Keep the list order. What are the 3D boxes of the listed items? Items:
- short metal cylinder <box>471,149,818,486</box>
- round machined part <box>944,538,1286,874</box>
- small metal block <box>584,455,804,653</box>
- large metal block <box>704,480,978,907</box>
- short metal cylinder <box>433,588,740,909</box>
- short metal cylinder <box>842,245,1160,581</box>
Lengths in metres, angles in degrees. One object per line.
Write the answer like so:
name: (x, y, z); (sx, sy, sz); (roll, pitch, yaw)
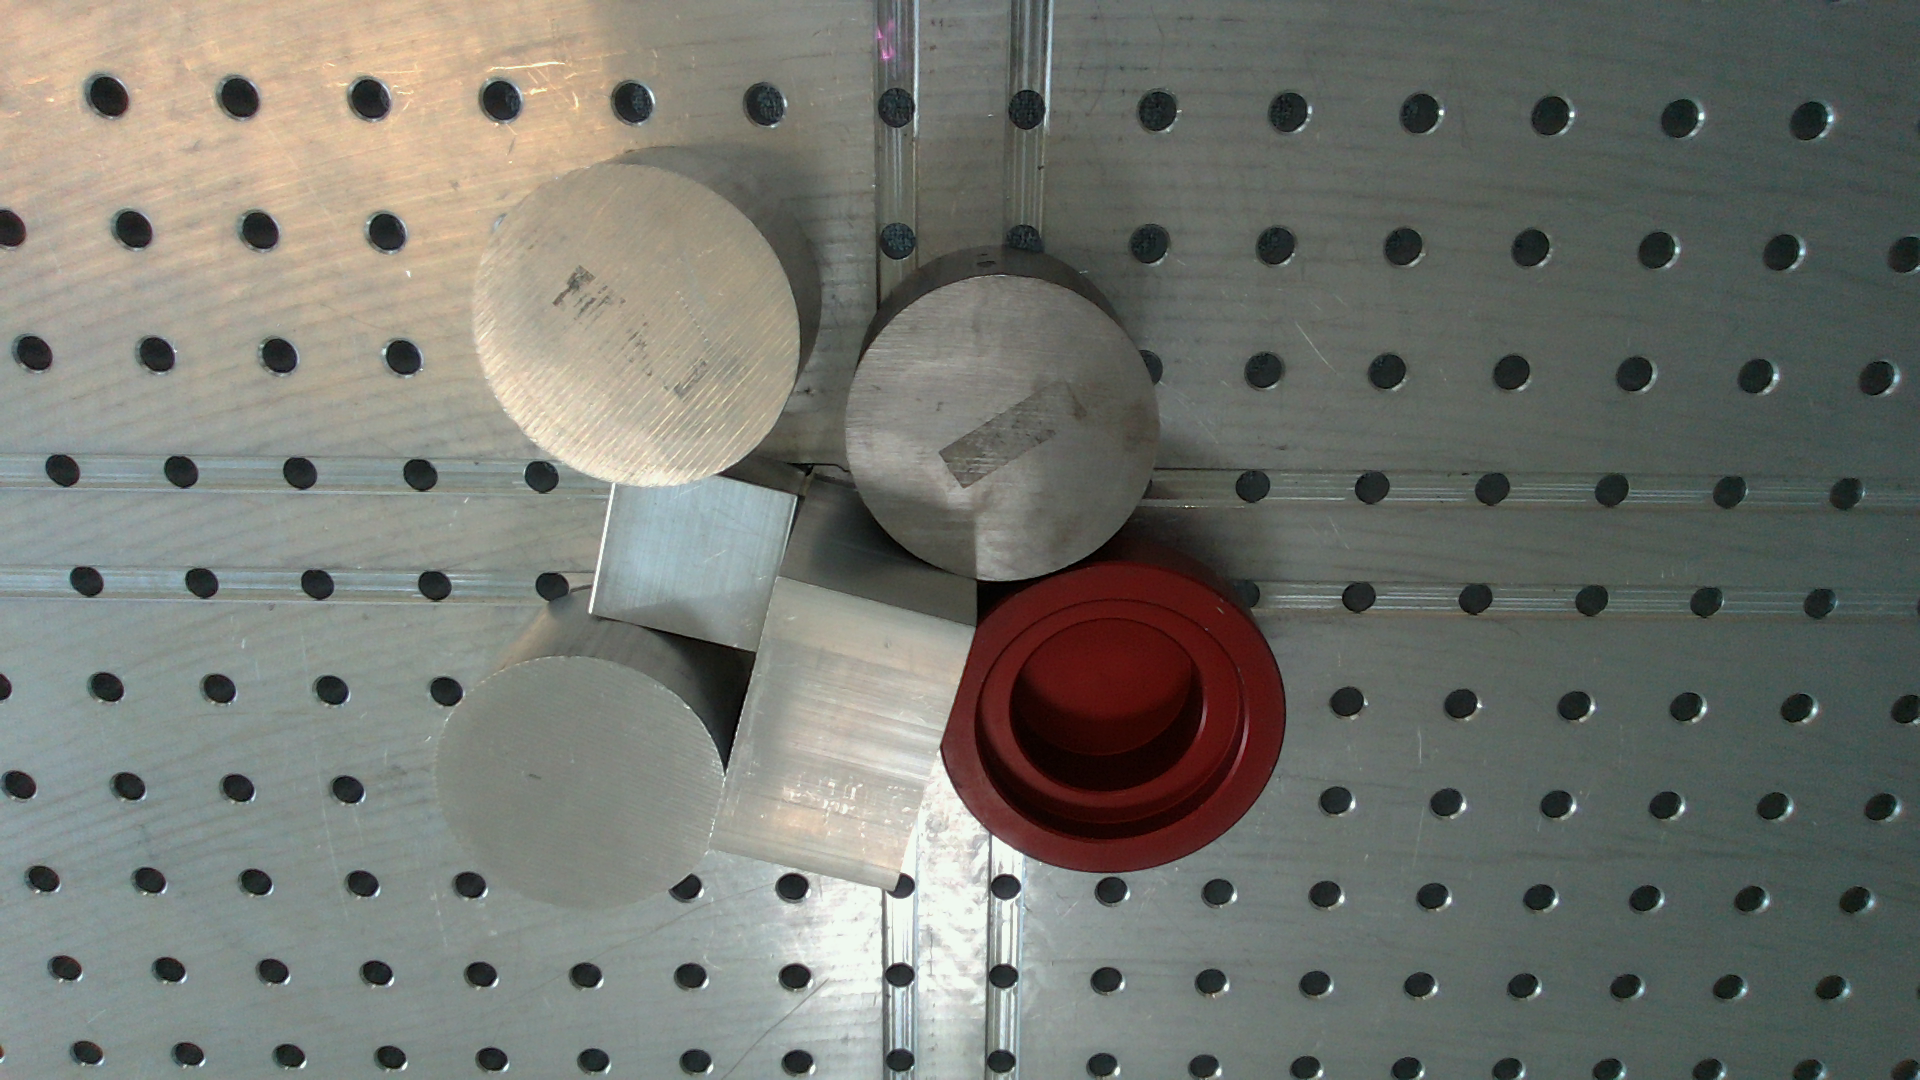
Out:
short metal cylinder: (-0.079, -0.060, 0.360); (0.080, 0.050, 0.080); (0, 110, 0)
round machined part: (0.042, 0.045, 0.404); (0.098, 0.042, 0.098); (0, 110, 0)
small metal block: (-0.076, 0.000, 0.396); (0.050, 0.025, 0.050); (14, 110, -5)
large metal block: (-0.030, 0.039, 0.378); (0.050, 0.080, 0.080); (15, 110, -5)
short metal cylinder: (-0.105, 0.060, 0.404); (0.080, 0.050, 0.080); (0, 110, 0)
short metal cylinder: (0.010, -0.035, 0.370); (0.080, 0.050, 0.080); (0, 110, 0)
